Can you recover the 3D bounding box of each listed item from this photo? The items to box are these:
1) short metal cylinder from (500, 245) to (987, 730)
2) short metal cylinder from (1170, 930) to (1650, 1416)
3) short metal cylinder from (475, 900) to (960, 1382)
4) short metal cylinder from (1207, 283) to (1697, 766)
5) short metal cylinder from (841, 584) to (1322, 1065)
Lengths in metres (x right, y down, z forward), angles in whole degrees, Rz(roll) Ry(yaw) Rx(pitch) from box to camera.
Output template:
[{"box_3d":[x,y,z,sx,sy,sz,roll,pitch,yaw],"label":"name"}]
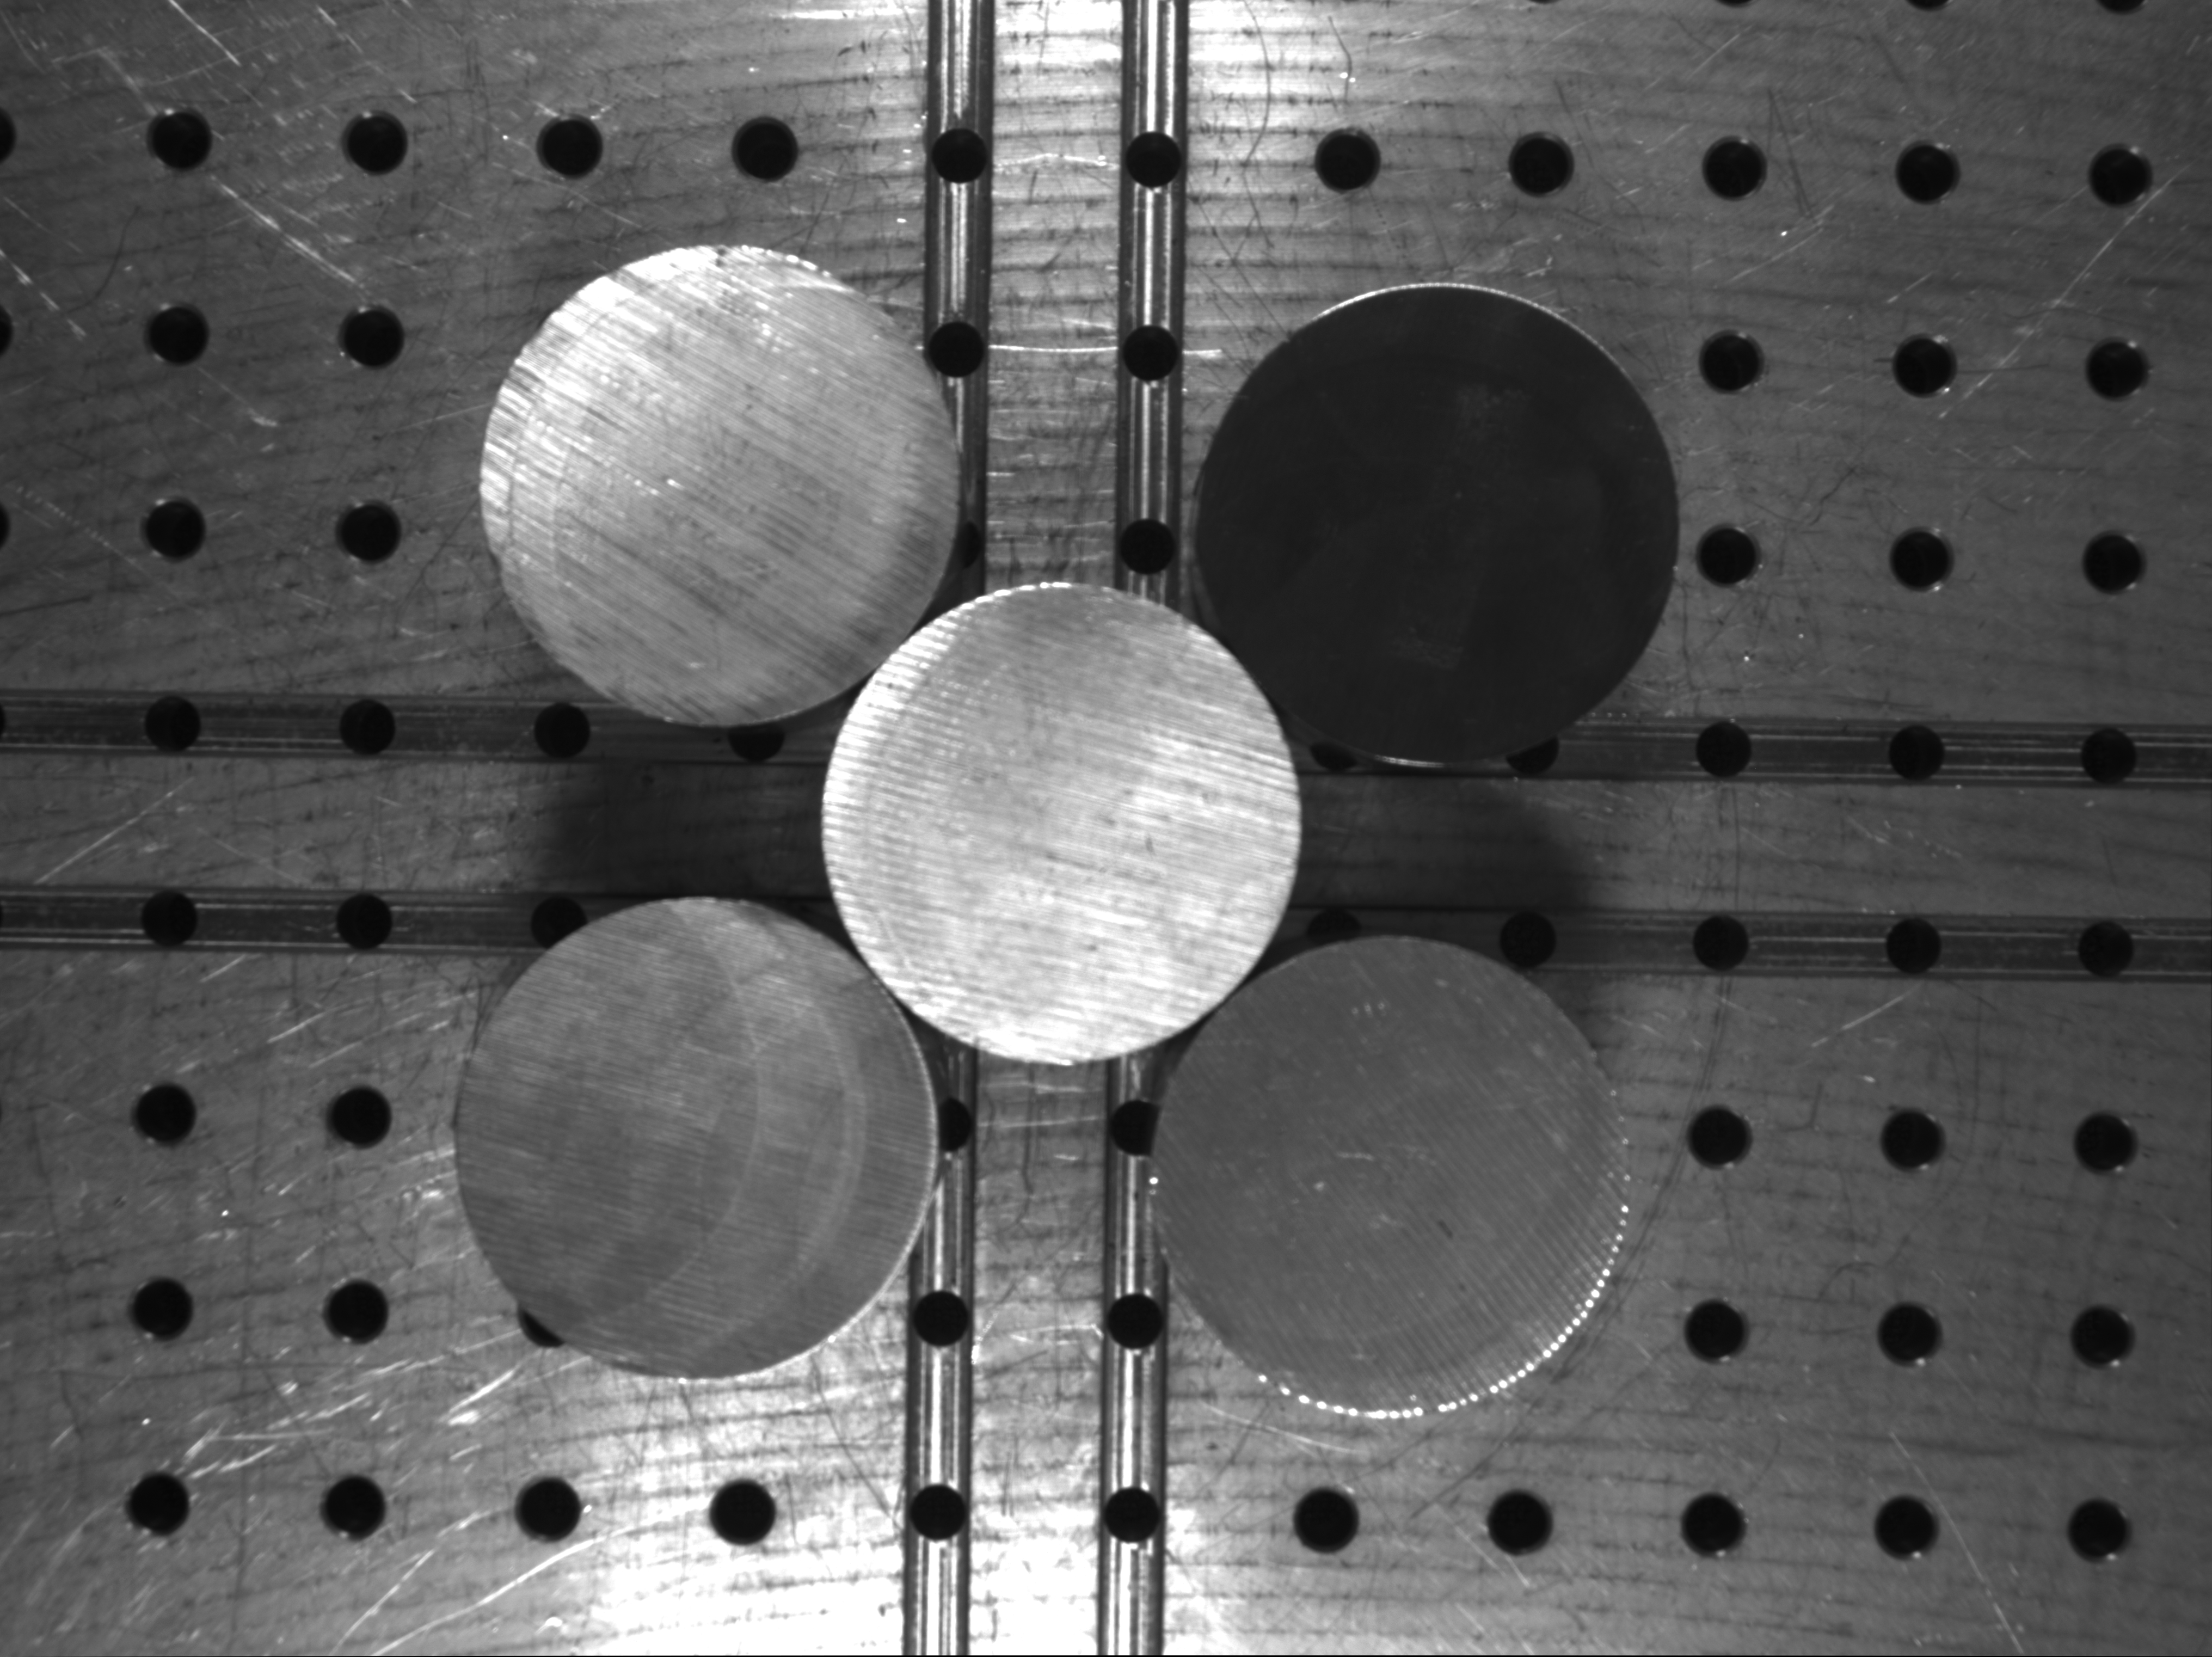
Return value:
[{"box_3d":[-0.061,-0.057,0.634,0.080,0.050,0.080,0,90,0],"label":"short metal cylinder"},{"box_3d":[0.051,0.058,0.635,0.080,0.050,0.080,0,90,0],"label":"short metal cylinder"},{"box_3d":[-0.065,0.052,0.633,0.080,0.050,0.080,0,90,0],"label":"short metal cylinder"},{"box_3d":[0.058,-0.051,0.633,0.080,0.050,0.080,0,90,0],"label":"short metal cylinder"},{"box_3d":[-0.004,-0.001,0.634,0.080,0.050,0.080,0,90,0],"label":"short metal cylinder"}]
